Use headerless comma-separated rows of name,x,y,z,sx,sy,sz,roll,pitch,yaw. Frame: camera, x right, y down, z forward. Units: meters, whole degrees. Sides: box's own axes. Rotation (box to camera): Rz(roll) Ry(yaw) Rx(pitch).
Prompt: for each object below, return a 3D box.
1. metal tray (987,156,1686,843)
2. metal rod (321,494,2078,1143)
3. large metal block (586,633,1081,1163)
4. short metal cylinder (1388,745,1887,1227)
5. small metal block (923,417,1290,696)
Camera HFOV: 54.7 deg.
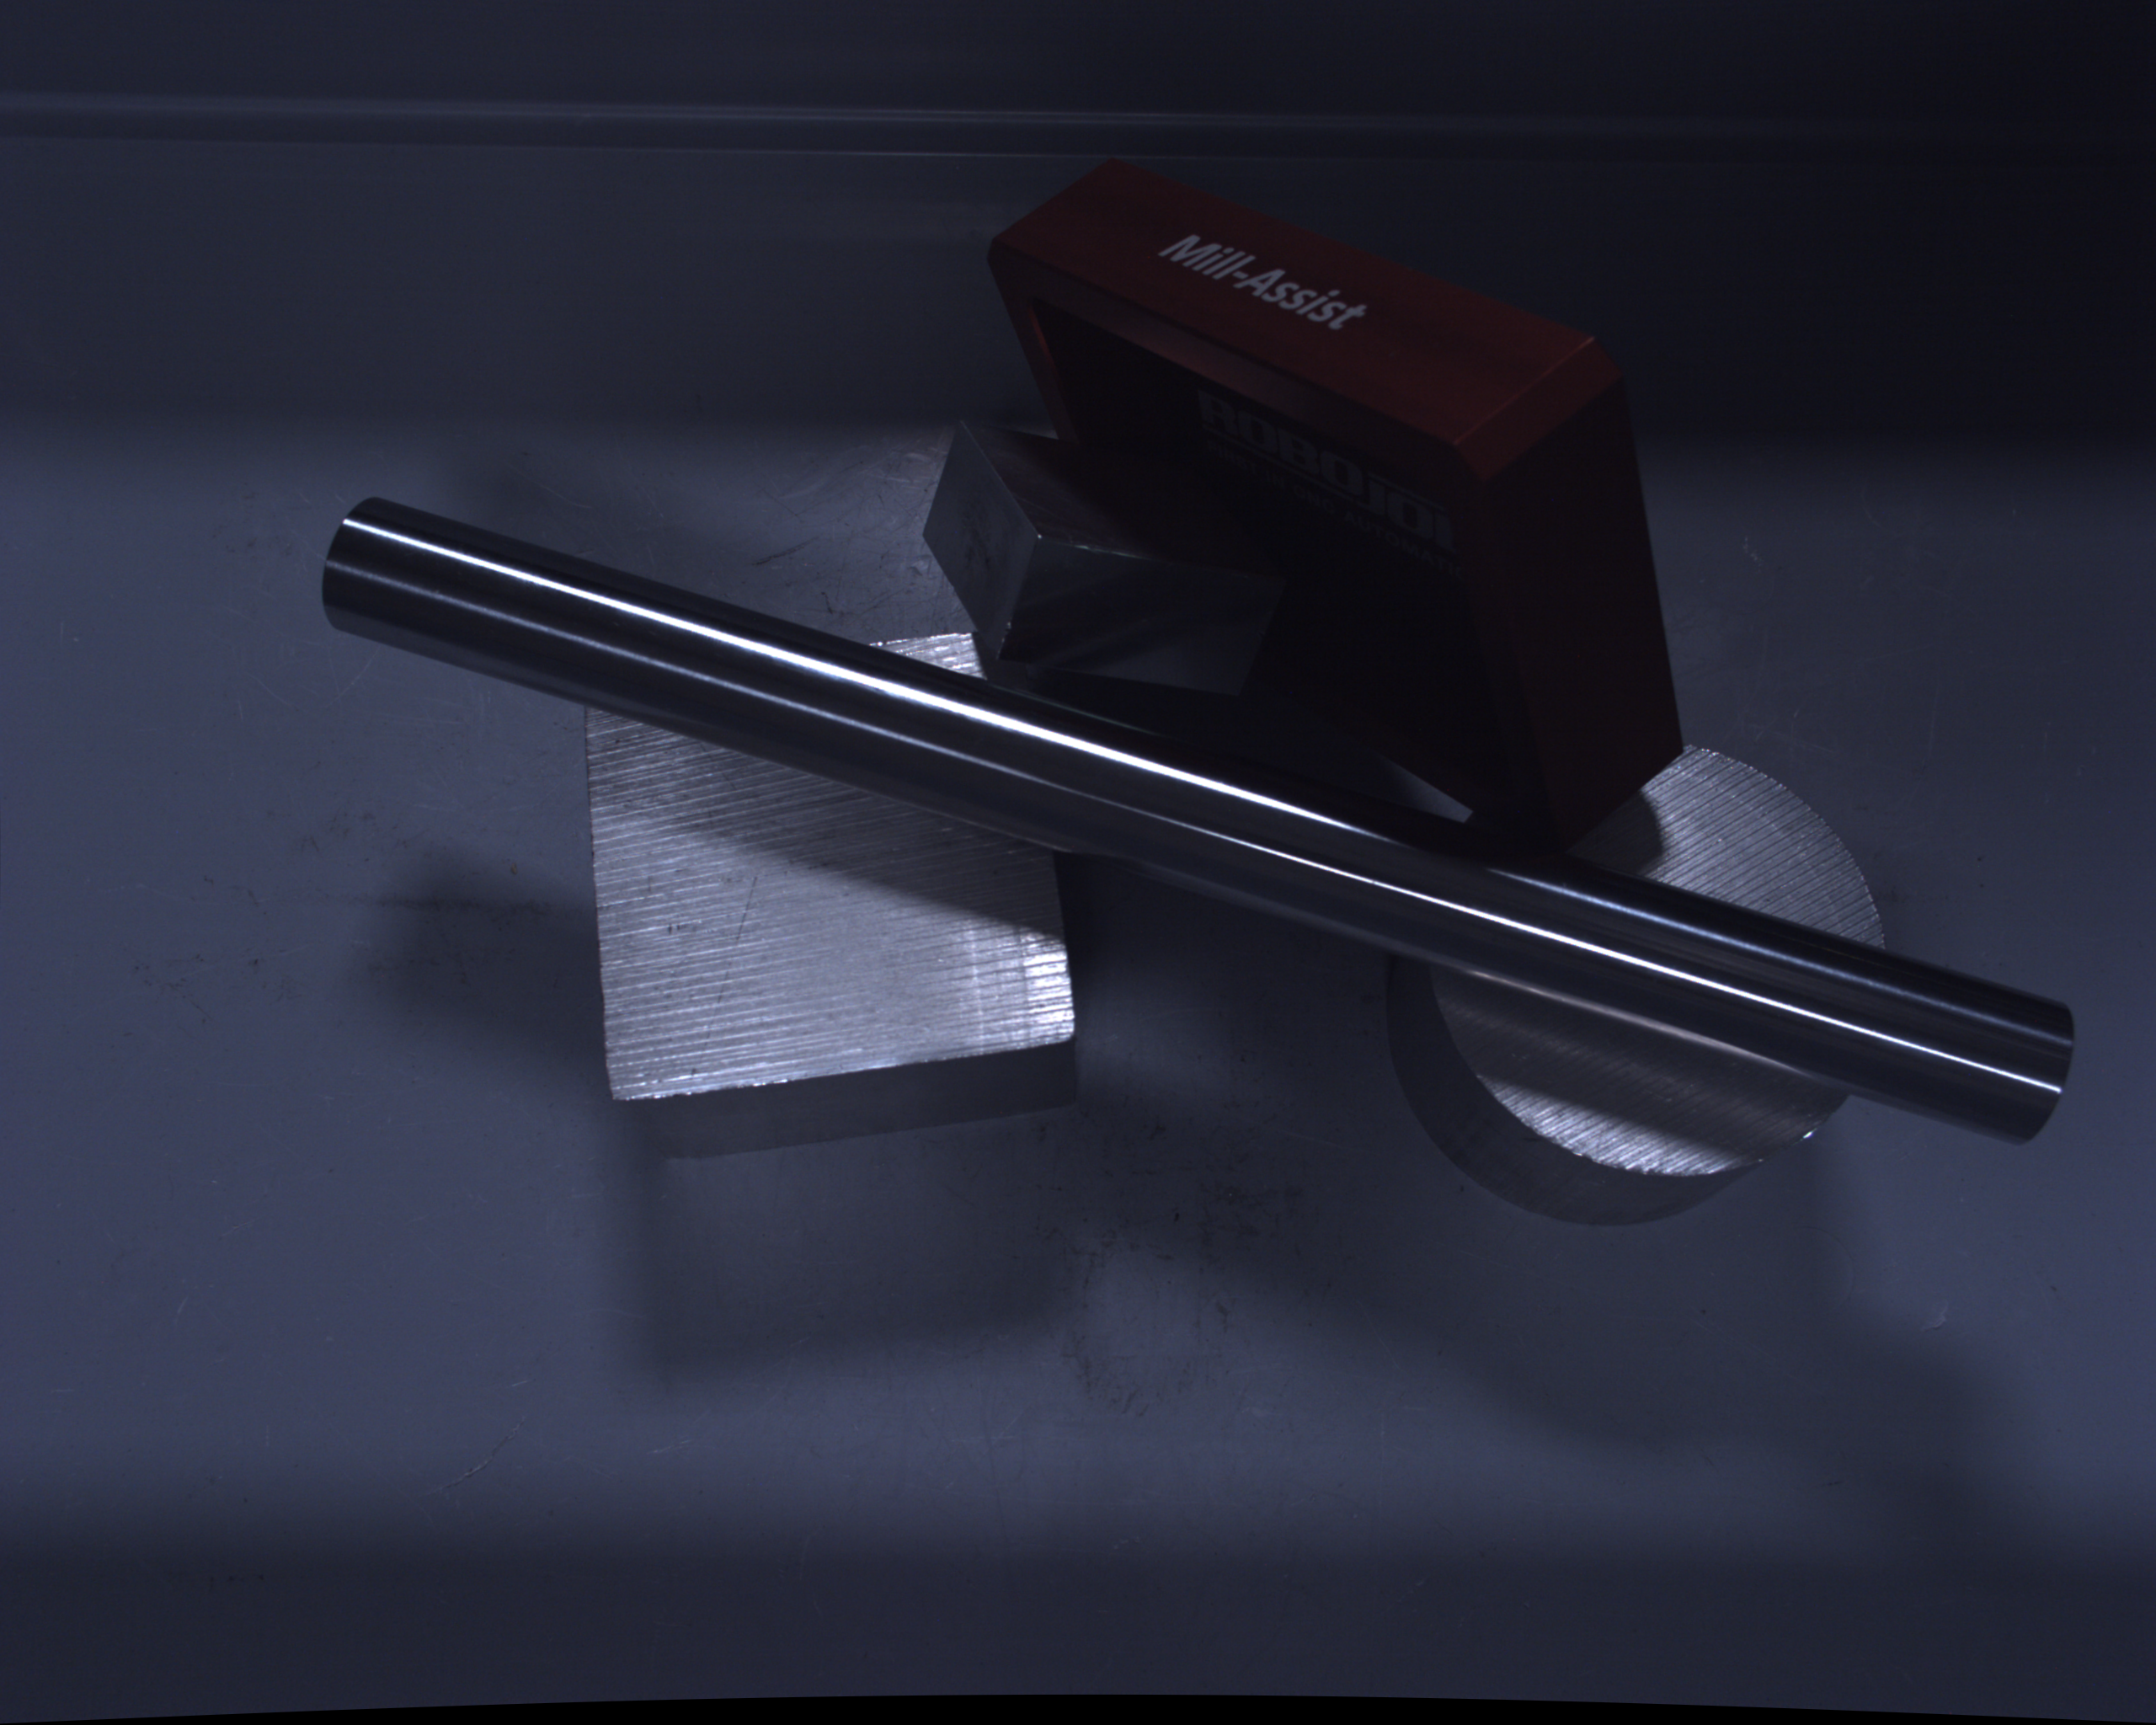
metal tray,0.044,-0.066,0.372,0.030,0.090,0.130,-39,45,-14
metal rod,0.015,-0.010,0.358,0.301,0.025,0.025,17,71,5
large metal block,-0.045,0.007,0.392,0.081,0.050,0.080,-7,70,-3
short metal cylinder,0.101,0.024,0.387,0.081,0.050,0.080,0,70,0
small metal block,0.004,-0.058,0.394,0.050,0.025,0.050,6,32,-26
